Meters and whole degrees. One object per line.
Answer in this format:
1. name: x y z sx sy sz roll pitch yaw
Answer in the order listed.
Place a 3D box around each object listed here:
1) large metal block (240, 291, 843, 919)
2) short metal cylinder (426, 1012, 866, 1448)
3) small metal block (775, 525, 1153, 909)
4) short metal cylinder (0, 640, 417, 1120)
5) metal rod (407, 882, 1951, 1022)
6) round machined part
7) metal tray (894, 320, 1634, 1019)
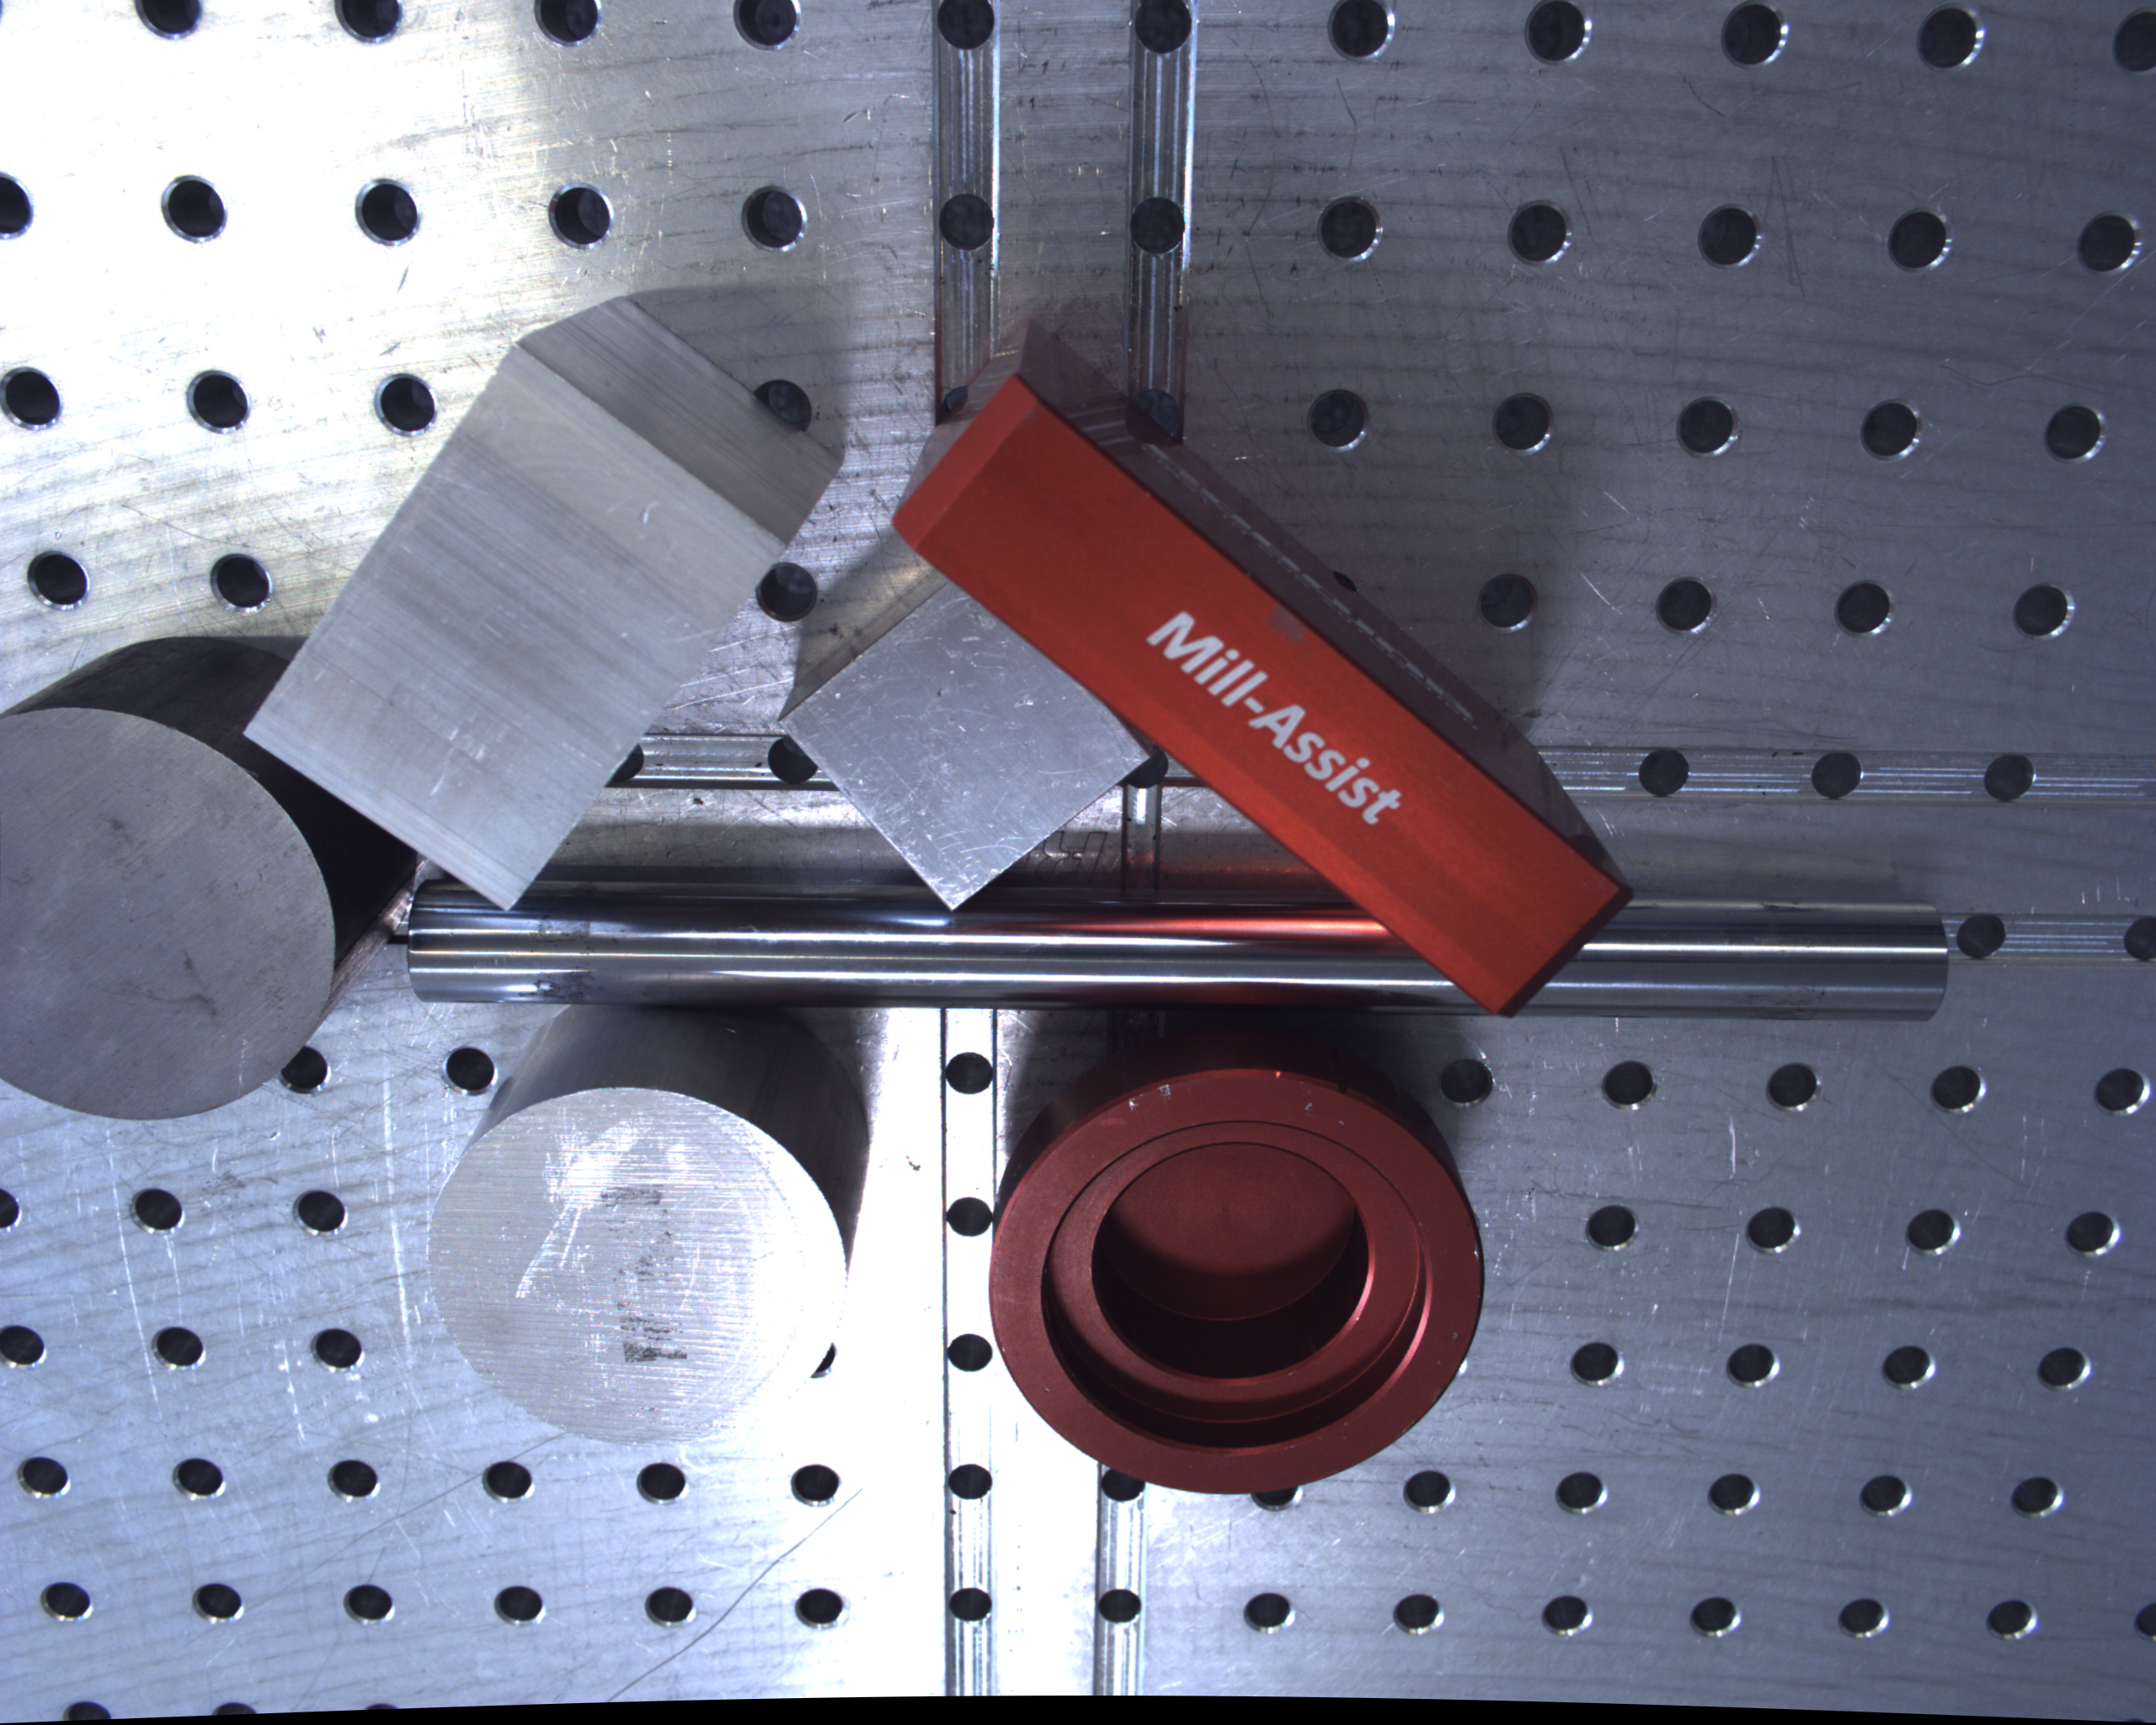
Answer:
1. large metal block: -0.089 -0.048 0.366 0.050 0.080 0.080 37 106 -13
2. short metal cylinder: -0.085 0.071 0.425 0.081 0.050 0.079 0 110 0
3. small metal block: -0.021 -0.028 0.403 0.050 0.025 0.050 -37 106 12
4. short metal cylinder: -0.174 0.002 0.399 0.081 0.050 0.079 0 110 0
5. metal rod: 0.020 0.018 0.420 0.302 0.025 0.025 1 110 -1
6. round machined part: 0.031 0.078 0.433 0.099 0.042 0.097 0 110 0
7. metal tray: 0.031 -0.037 0.365 0.130 0.090 0.030 38 106 -13
